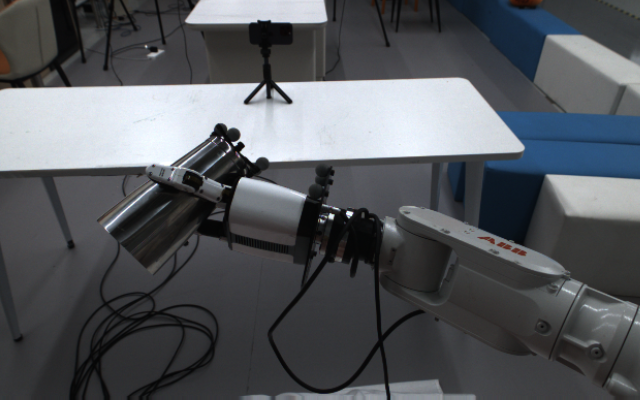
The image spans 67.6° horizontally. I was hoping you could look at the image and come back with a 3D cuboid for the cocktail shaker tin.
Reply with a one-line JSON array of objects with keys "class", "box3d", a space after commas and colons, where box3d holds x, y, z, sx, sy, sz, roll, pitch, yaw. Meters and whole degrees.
[{"class": "cocktail shaker tin", "box3d": [-0.172, -0.004, 0.592, 0.093, 0.093, 0.170, 32, 66, 36]}]
